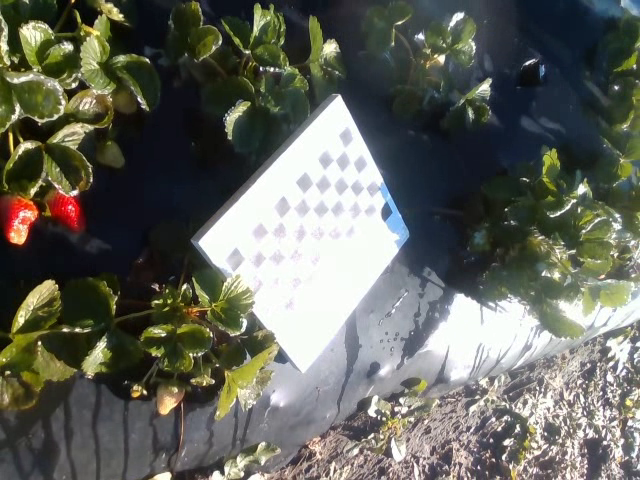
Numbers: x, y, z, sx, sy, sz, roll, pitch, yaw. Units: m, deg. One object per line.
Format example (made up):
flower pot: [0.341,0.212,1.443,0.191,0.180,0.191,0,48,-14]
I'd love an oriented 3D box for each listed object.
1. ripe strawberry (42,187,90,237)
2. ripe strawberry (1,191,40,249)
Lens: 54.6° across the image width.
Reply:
ripe strawberry: [-0.309,-0.037,0.752,0.043,0.059,0.040,-48,32,-21]
ripe strawberry: [-0.356,-0.021,0.729,0.040,0.070,0.053,5,3,42]
